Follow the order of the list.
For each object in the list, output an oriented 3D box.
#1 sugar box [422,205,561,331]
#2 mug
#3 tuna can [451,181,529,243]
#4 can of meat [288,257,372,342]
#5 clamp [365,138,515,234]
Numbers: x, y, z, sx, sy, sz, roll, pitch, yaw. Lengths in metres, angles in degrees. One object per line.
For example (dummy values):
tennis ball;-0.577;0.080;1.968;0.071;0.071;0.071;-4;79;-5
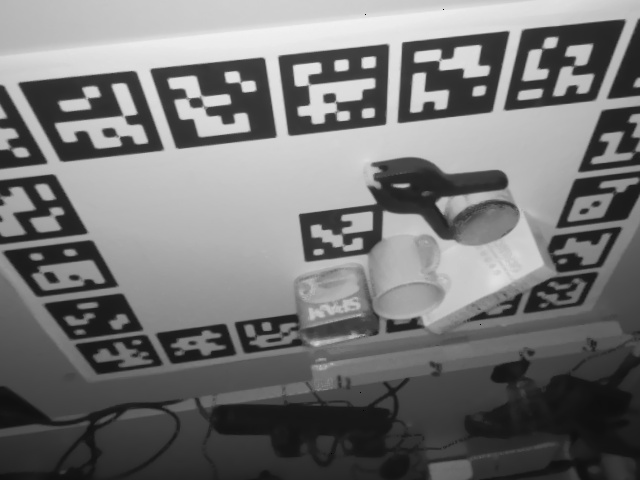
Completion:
sugar box;0.201;0.036;0.869;0.174;0.093;0.046;-31;137;26
mug;0.109;0.038;0.849;0.094;0.082;0.115;12;134;-22
tuna can;0.199;-0.037;0.818;0.086;0.034;0.085;-6;138;-4
can of meat;0.010;0.074;0.885;0.102;0.084;0.057;-10;141;4
clamp;0.120;-0.069;0.774;0.167;0.037;0.120;22;136;-26
